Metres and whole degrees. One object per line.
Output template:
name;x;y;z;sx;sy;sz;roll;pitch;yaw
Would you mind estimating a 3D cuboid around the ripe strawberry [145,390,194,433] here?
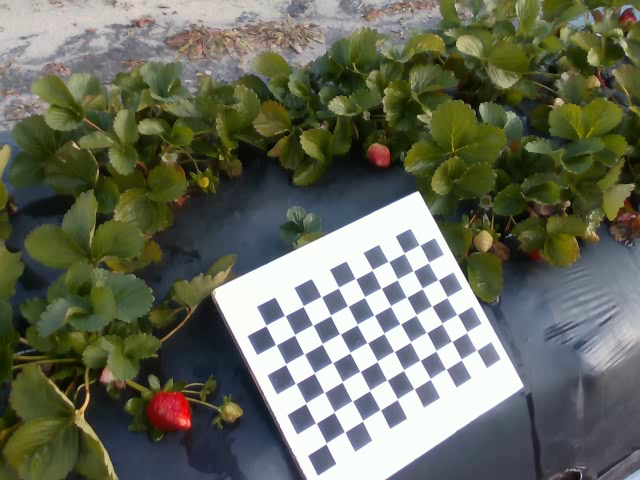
ripe strawberry;-0.150;0.182;0.624;0.057;0.043;0.052;13;-28;53
